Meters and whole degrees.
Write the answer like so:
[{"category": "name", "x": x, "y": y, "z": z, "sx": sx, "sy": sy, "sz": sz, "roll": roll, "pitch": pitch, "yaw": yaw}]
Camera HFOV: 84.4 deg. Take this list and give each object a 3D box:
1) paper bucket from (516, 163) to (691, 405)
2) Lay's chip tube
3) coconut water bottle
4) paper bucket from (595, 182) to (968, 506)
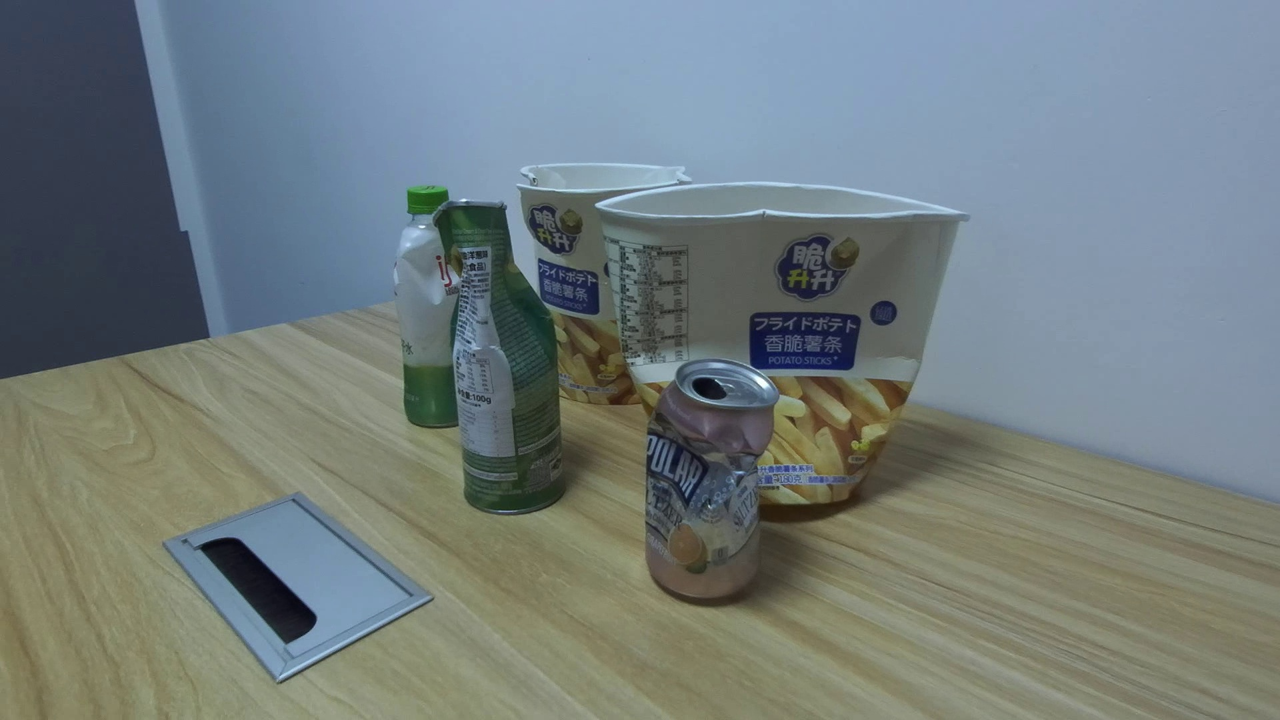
[{"category": "paper bucket", "x": -0.026, "y": -0.076, "z": 0.651, "sx": 0.146, "sy": 0.197, "sz": 0.202, "roll": -3, "pitch": 20, "yaw": -5}, {"category": "Lay's chip tube", "x": -0.093, "y": -0.004, "z": 0.461, "sx": 0.070, "sy": 0.199, "sz": 0.079, "roll": 5, "pitch": 18, "yaw": 31}, {"category": "coconut water bottle", "x": -0.164, "y": -0.042, "z": 0.570, "sx": 0.067, "sy": 0.187, "sz": 0.067, "roll": 1, "pitch": 19, "yaw": 0}, {"category": "paper bucket", "x": 0.094, "y": -0.014, "z": 0.484, "sx": 0.219, "sy": 0.199, "sz": 0.147, "roll": -13, "pitch": 25, "yaw": -34}]
